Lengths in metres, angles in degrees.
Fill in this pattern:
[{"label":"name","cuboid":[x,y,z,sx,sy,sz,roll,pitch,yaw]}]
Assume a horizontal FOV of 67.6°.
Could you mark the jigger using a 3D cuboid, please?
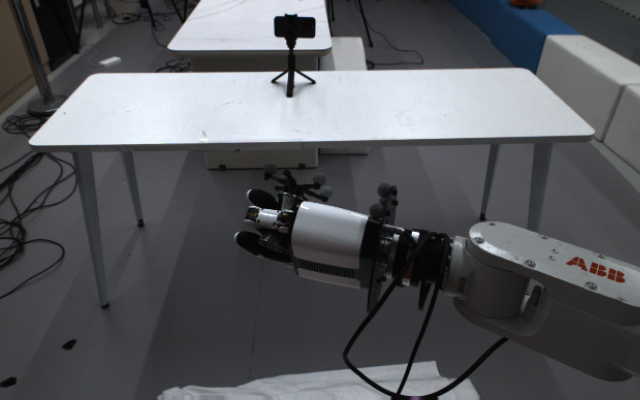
[{"label":"jigger","cuboid":[-0.044,0.029,0.615,0.043,0.043,0.071,13,70,16]}]
